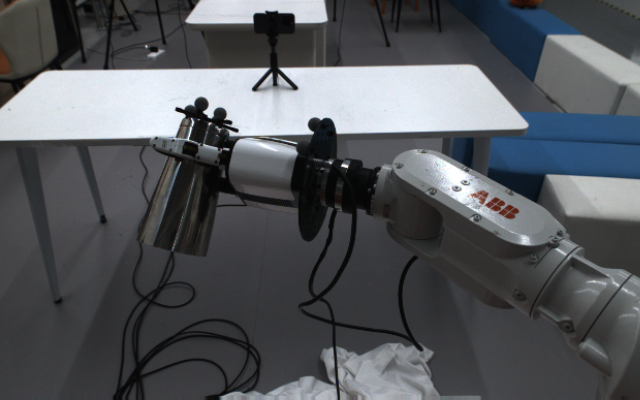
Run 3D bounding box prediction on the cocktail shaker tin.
[{"bbox_3d":[-0.174,-0.020,0.649,0.093,0.170,0.093,15,-5,1],"label":"cocktail shaker tin"}]
